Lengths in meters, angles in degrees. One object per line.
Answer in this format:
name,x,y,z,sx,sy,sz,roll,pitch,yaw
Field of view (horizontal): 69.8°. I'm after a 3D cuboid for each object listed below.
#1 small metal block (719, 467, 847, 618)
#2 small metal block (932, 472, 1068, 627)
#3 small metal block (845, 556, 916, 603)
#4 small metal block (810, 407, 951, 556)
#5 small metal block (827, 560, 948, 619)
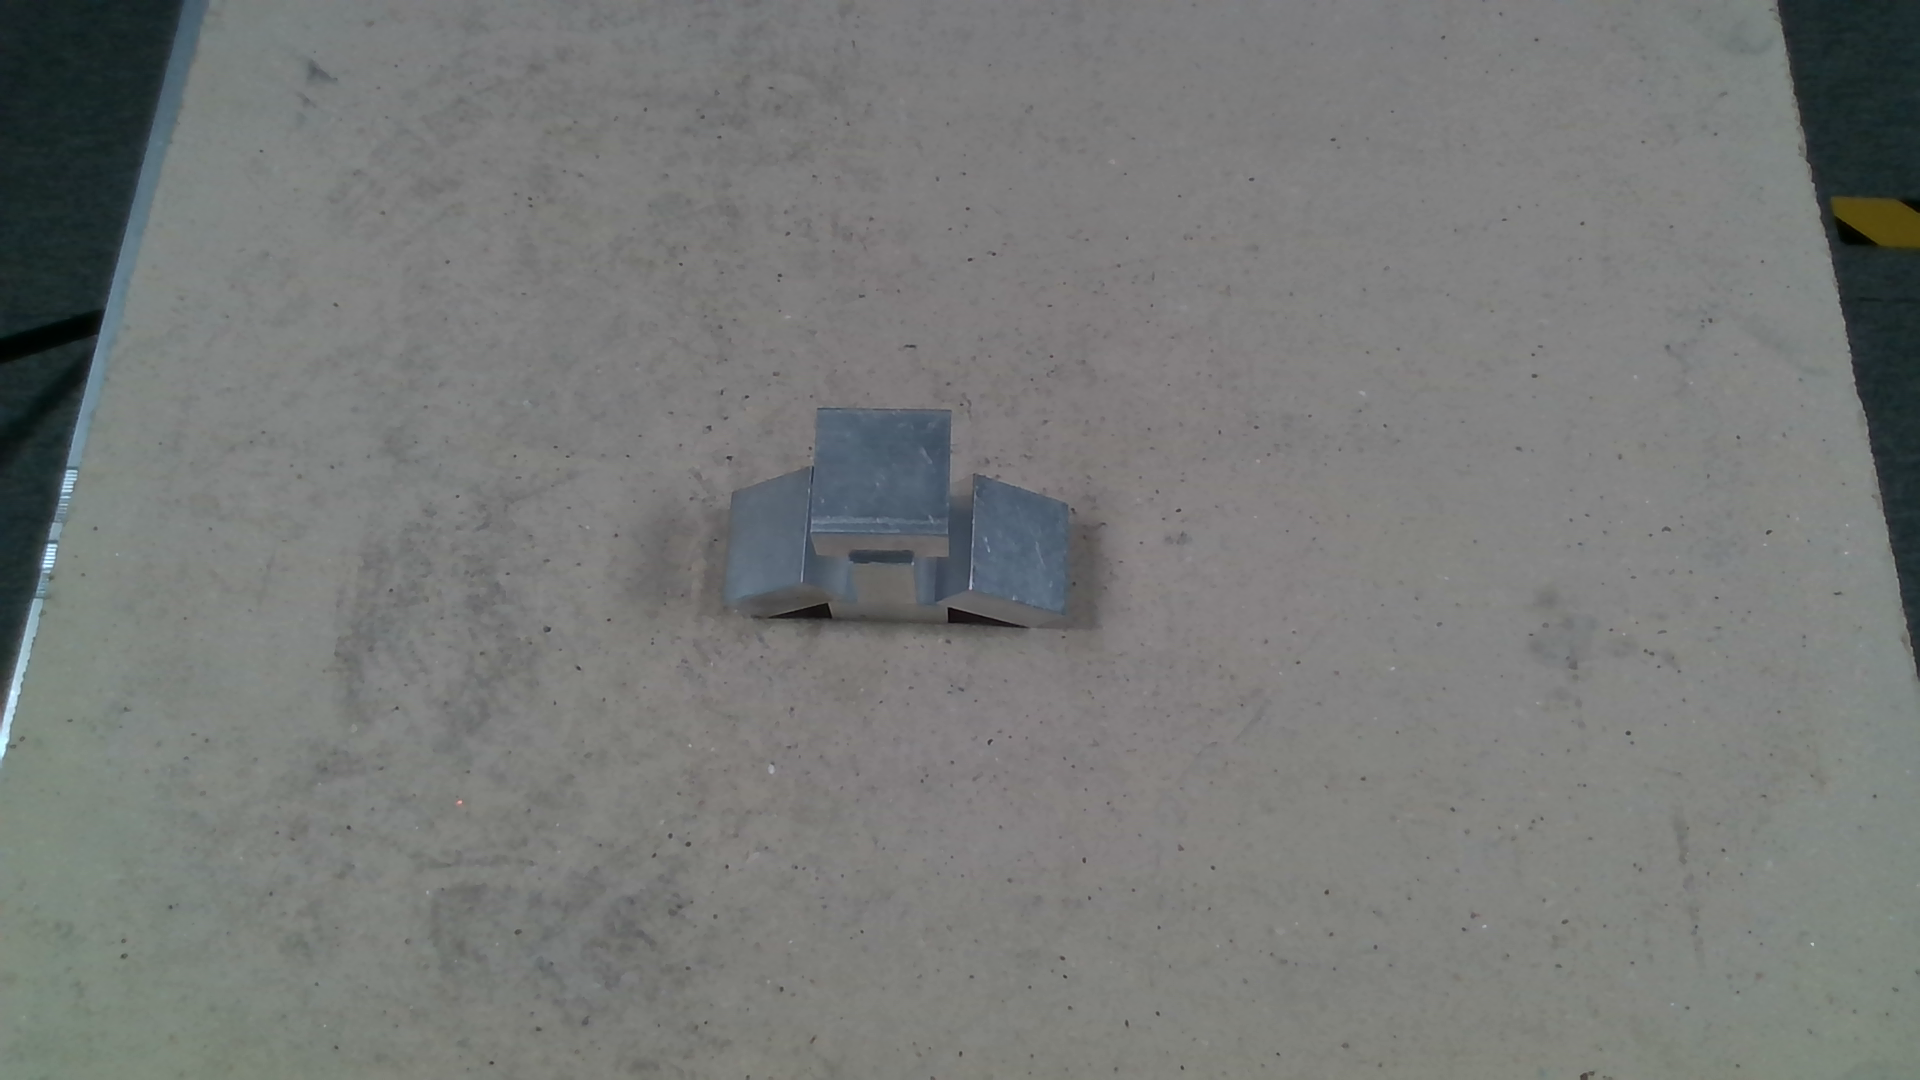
small metal block,-0.072,0.001,0.574,0.050,0.025,0.050,-14,64,38
small metal block,0.017,0.005,0.574,0.050,0.025,0.050,16,66,-33
small metal block,-0.030,-0.006,0.550,0.025,0.050,0.050,2,70,1
small metal block,-0.029,-0.021,0.516,0.050,0.025,0.050,1,70,0
small metal block,-0.029,0.007,0.586,0.050,0.025,0.050,2,70,1
